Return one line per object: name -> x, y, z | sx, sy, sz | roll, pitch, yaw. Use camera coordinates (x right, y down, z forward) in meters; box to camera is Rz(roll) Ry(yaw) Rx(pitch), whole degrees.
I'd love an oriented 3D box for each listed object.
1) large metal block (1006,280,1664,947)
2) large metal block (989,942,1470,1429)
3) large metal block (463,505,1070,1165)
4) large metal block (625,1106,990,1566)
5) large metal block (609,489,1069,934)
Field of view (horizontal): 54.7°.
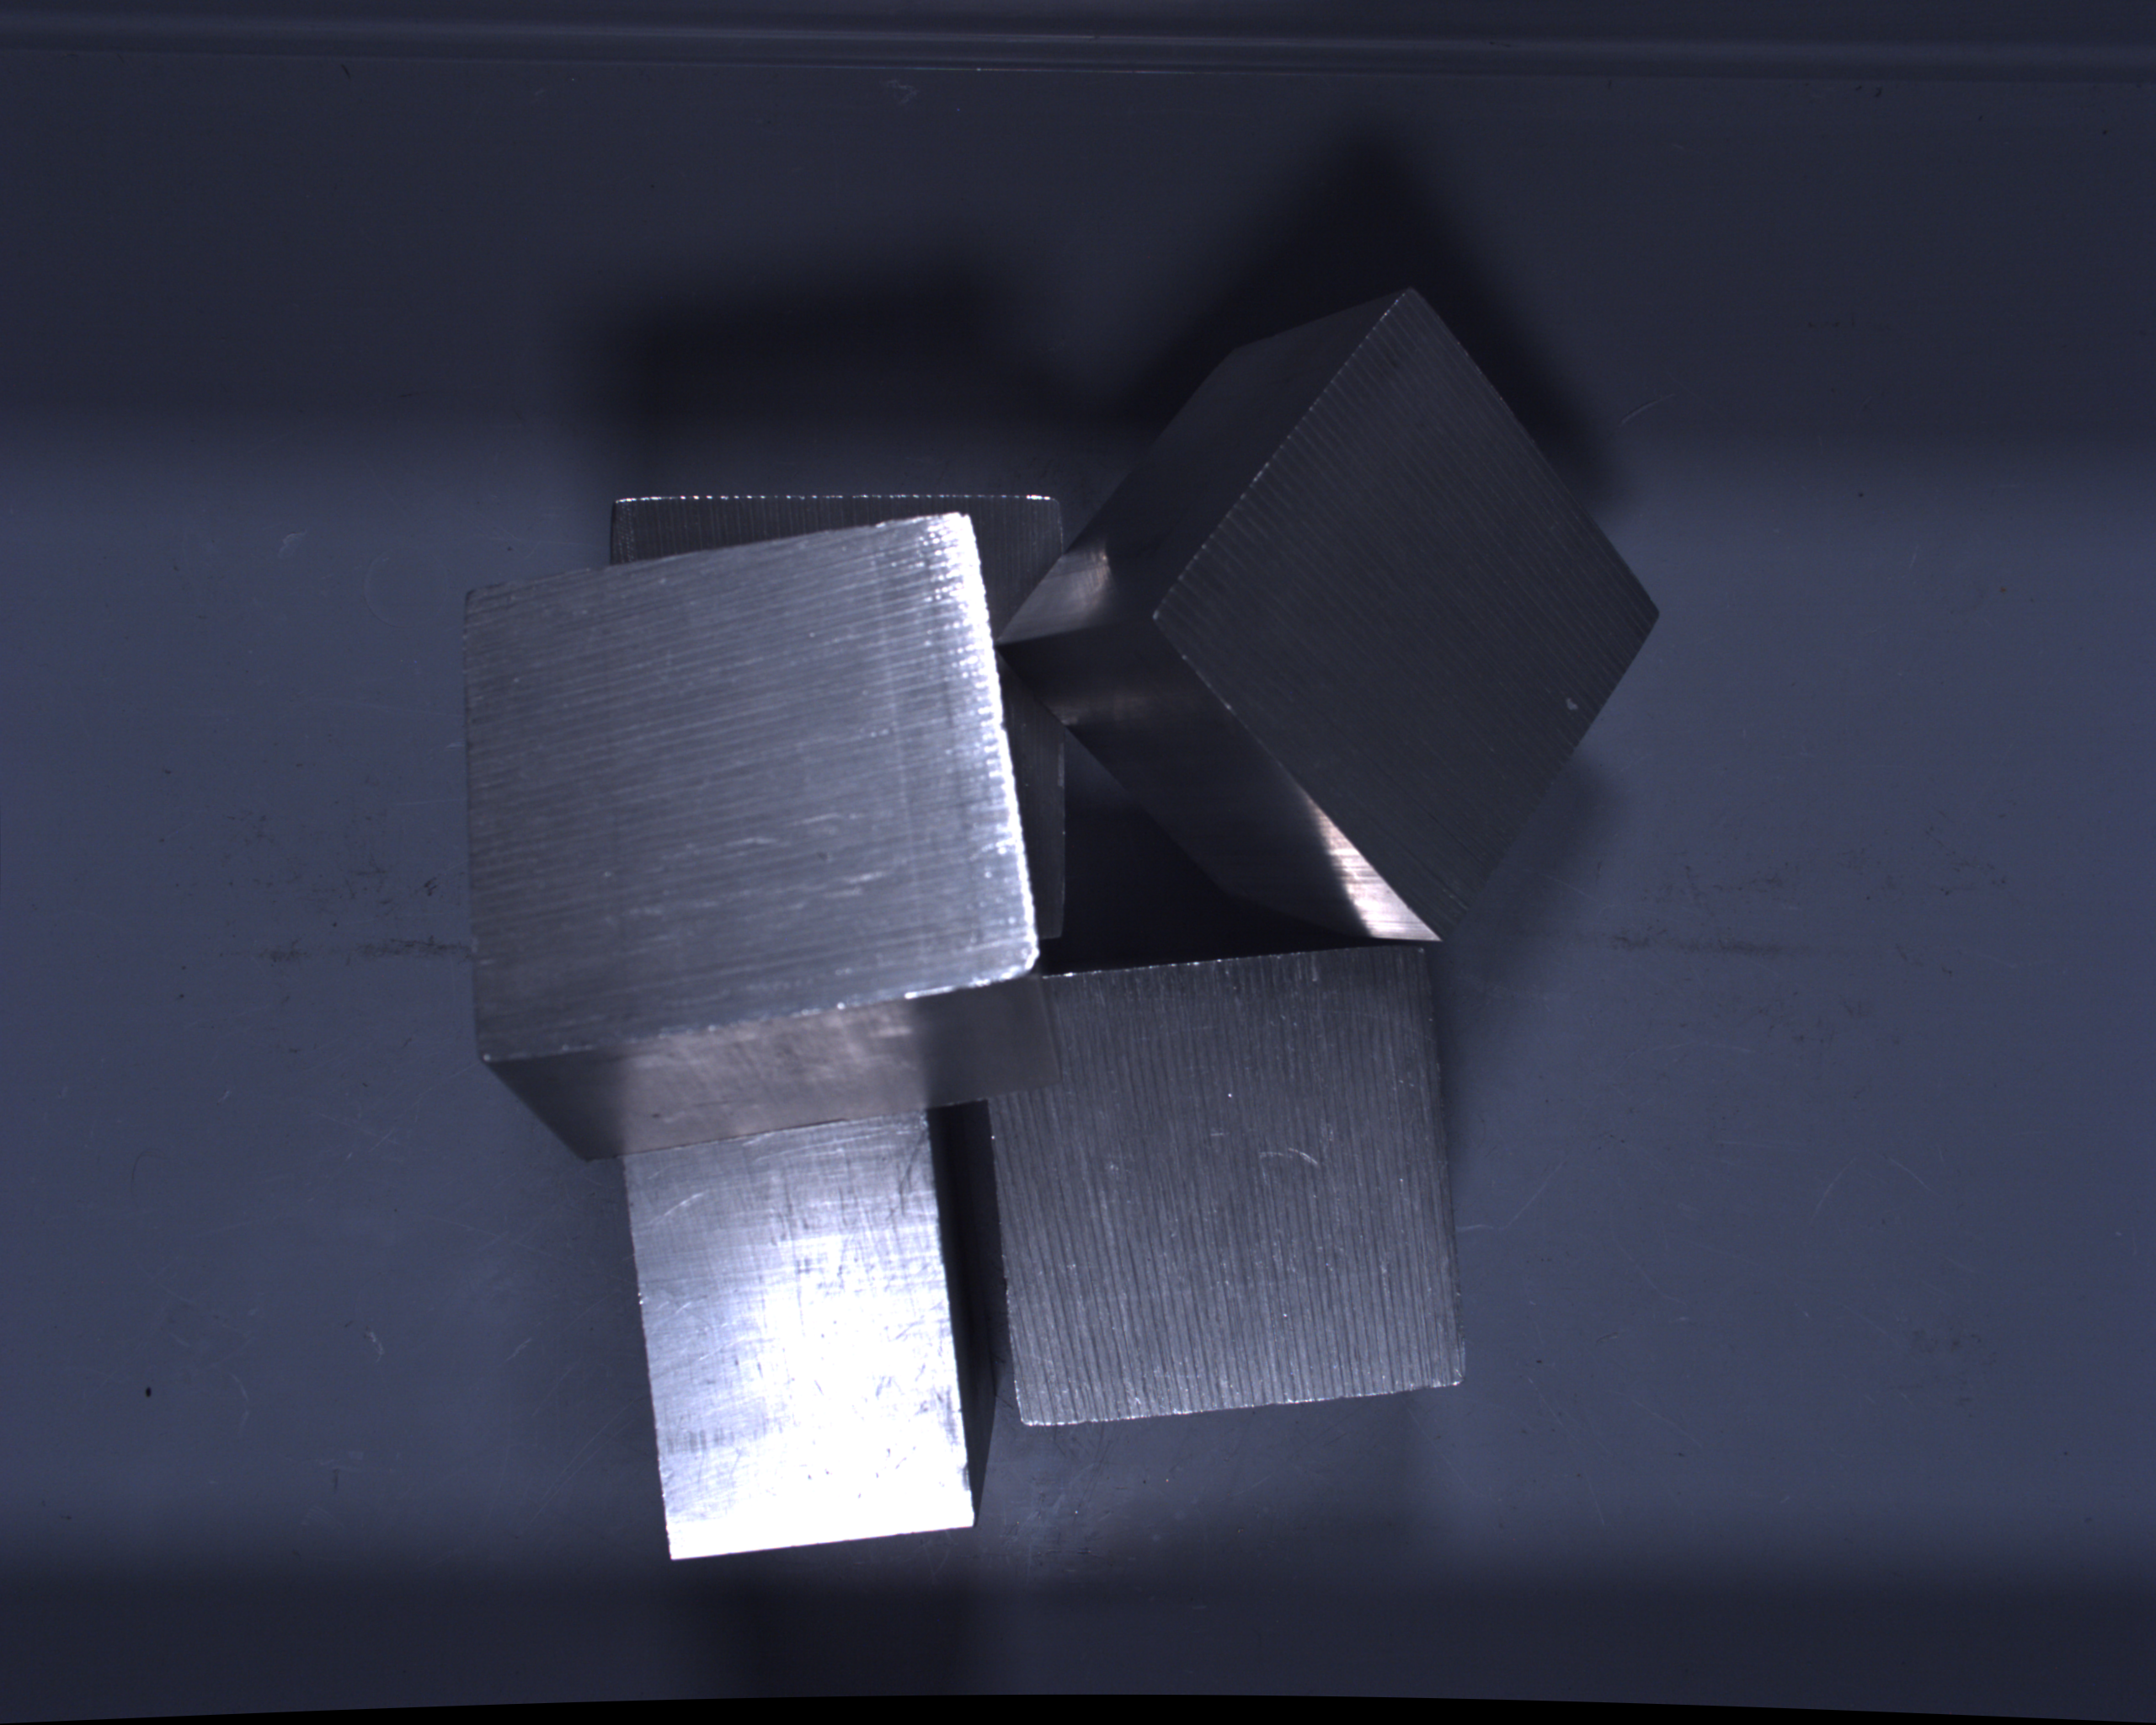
large metal block -> 0.046, -0.042, 0.373 | 0.080, 0.050, 0.080 | 46, 67, -23
large metal block -> 0.026, 0.057, 0.396 | 0.081, 0.050, 0.079 | -5, 90, -1
large metal block -> -0.049, -0.004, 0.332 | 0.080, 0.050, 0.080 | -9, 65, 0
large metal block -> -0.046, 0.073, 0.382 | 0.050, 0.080, 0.079 | -7, 90, 0
large metal block -> -0.043, -0.026, 0.397 | 0.081, 0.050, 0.079 | -1, 90, -1
